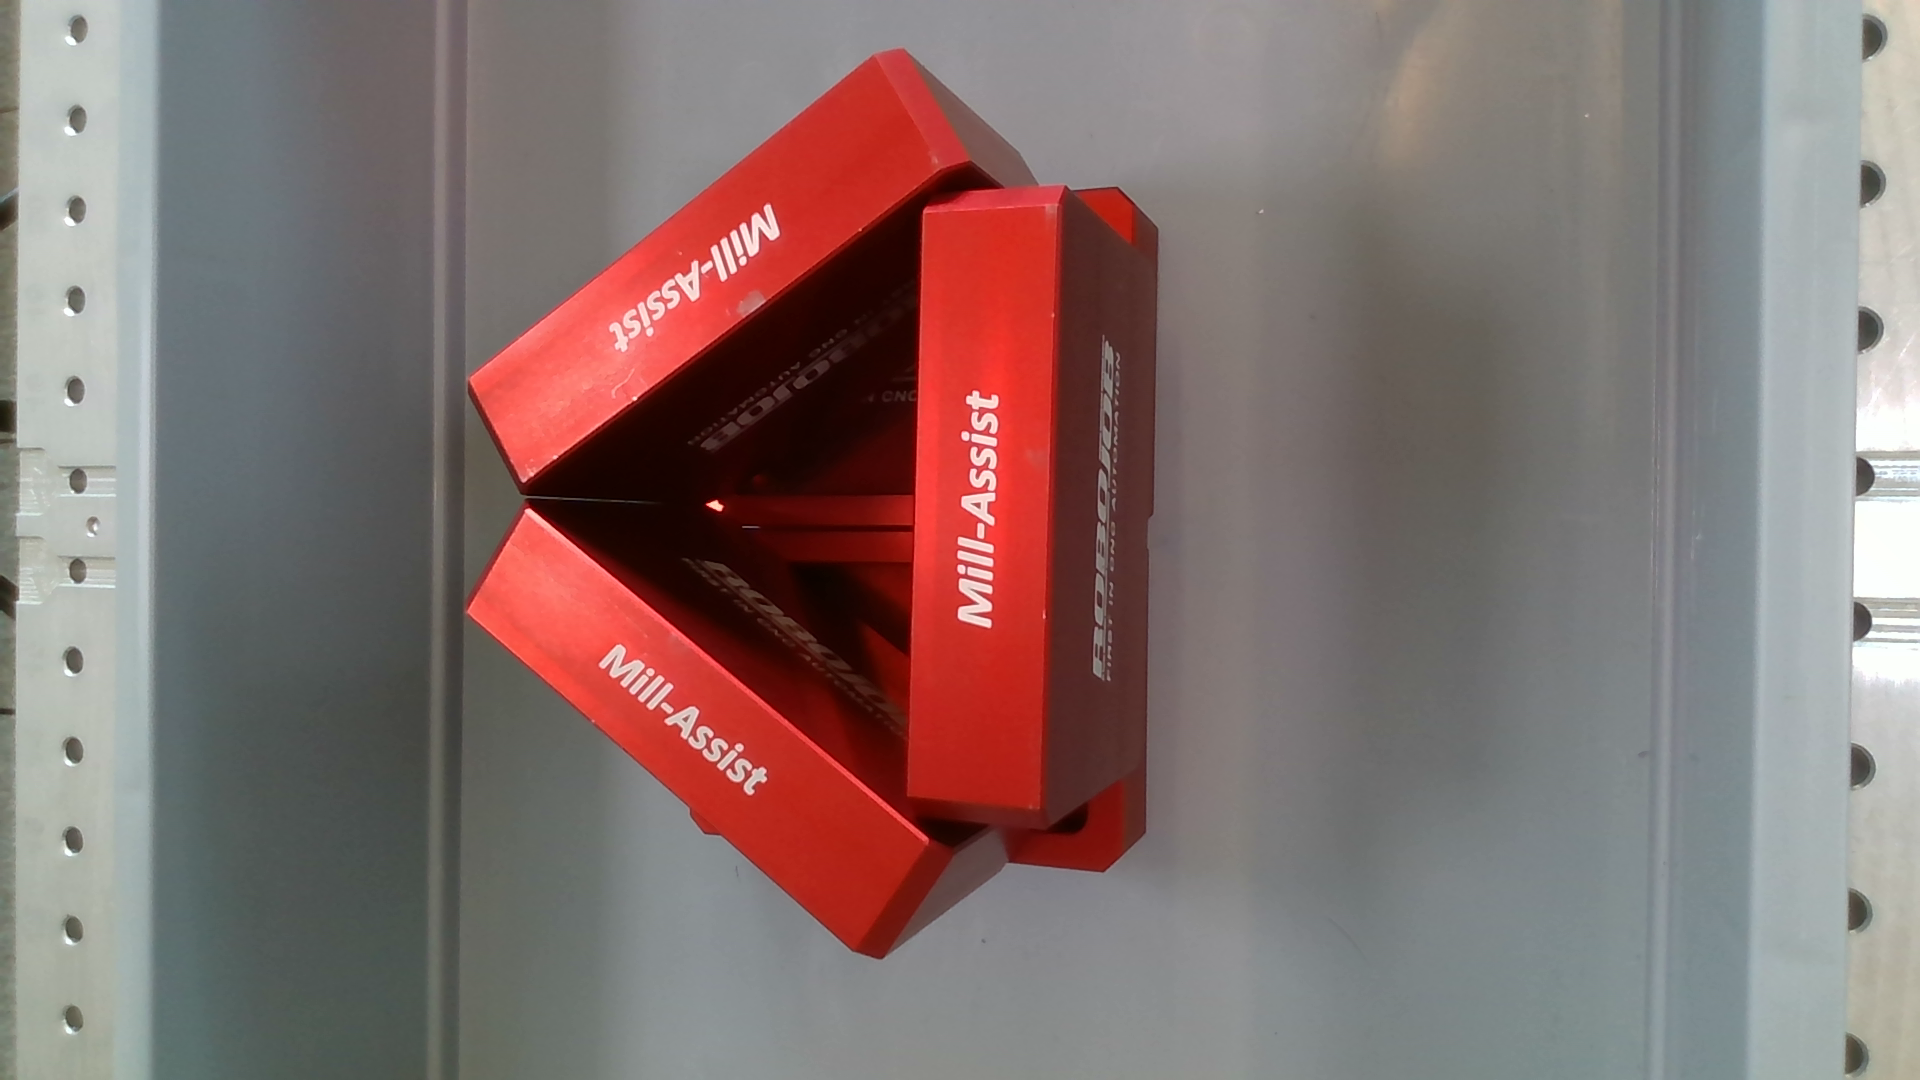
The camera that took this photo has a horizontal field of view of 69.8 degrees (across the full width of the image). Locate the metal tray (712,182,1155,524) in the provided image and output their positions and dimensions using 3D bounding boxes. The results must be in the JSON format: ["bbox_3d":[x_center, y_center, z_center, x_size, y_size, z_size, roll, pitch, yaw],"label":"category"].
[{"bbox_3d":[-0.011,-0.049,0.395,0.130,0.030,0.090,0,90,19],"label":"metal tray"}]

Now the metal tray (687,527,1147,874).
[{"bbox_3d":[-0.013,0.042,0.396,0.130,0.030,0.090,1,90,19],"label":"metal tray"}]

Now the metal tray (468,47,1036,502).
[{"bbox_3d":[-0.044,-0.057,0.341,0.130,0.090,0.030,-33,79,17],"label":"metal tray"}]

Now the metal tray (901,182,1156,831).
[{"bbox_3d":[0.019,-0.007,0.318,0.030,0.090,0.130,2,91,20],"label":"metal tray"}]

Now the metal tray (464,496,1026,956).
[{"bbox_3d":[-0.046,0.039,0.342,0.130,0.090,0.030,37,102,17],"label":"metal tray"}]
